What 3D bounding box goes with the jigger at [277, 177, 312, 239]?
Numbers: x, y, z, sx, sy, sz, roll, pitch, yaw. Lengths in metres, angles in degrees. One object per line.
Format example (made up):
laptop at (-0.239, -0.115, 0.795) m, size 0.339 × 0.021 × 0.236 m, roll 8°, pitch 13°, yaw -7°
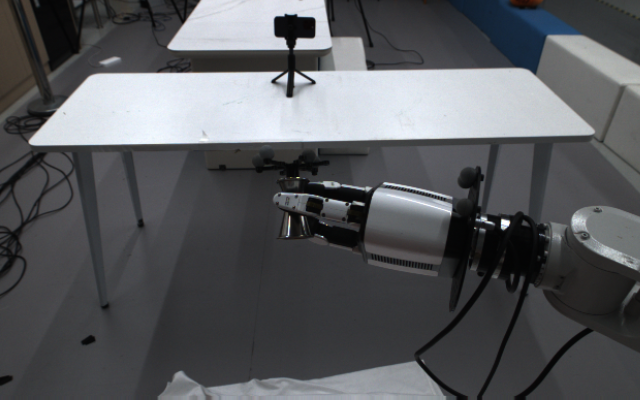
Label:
jigger at (-0.030, 0.010, 0.560) m, size 0.043 × 0.071 × 0.043 m, roll -2°, pitch -7°, yaw 0°
